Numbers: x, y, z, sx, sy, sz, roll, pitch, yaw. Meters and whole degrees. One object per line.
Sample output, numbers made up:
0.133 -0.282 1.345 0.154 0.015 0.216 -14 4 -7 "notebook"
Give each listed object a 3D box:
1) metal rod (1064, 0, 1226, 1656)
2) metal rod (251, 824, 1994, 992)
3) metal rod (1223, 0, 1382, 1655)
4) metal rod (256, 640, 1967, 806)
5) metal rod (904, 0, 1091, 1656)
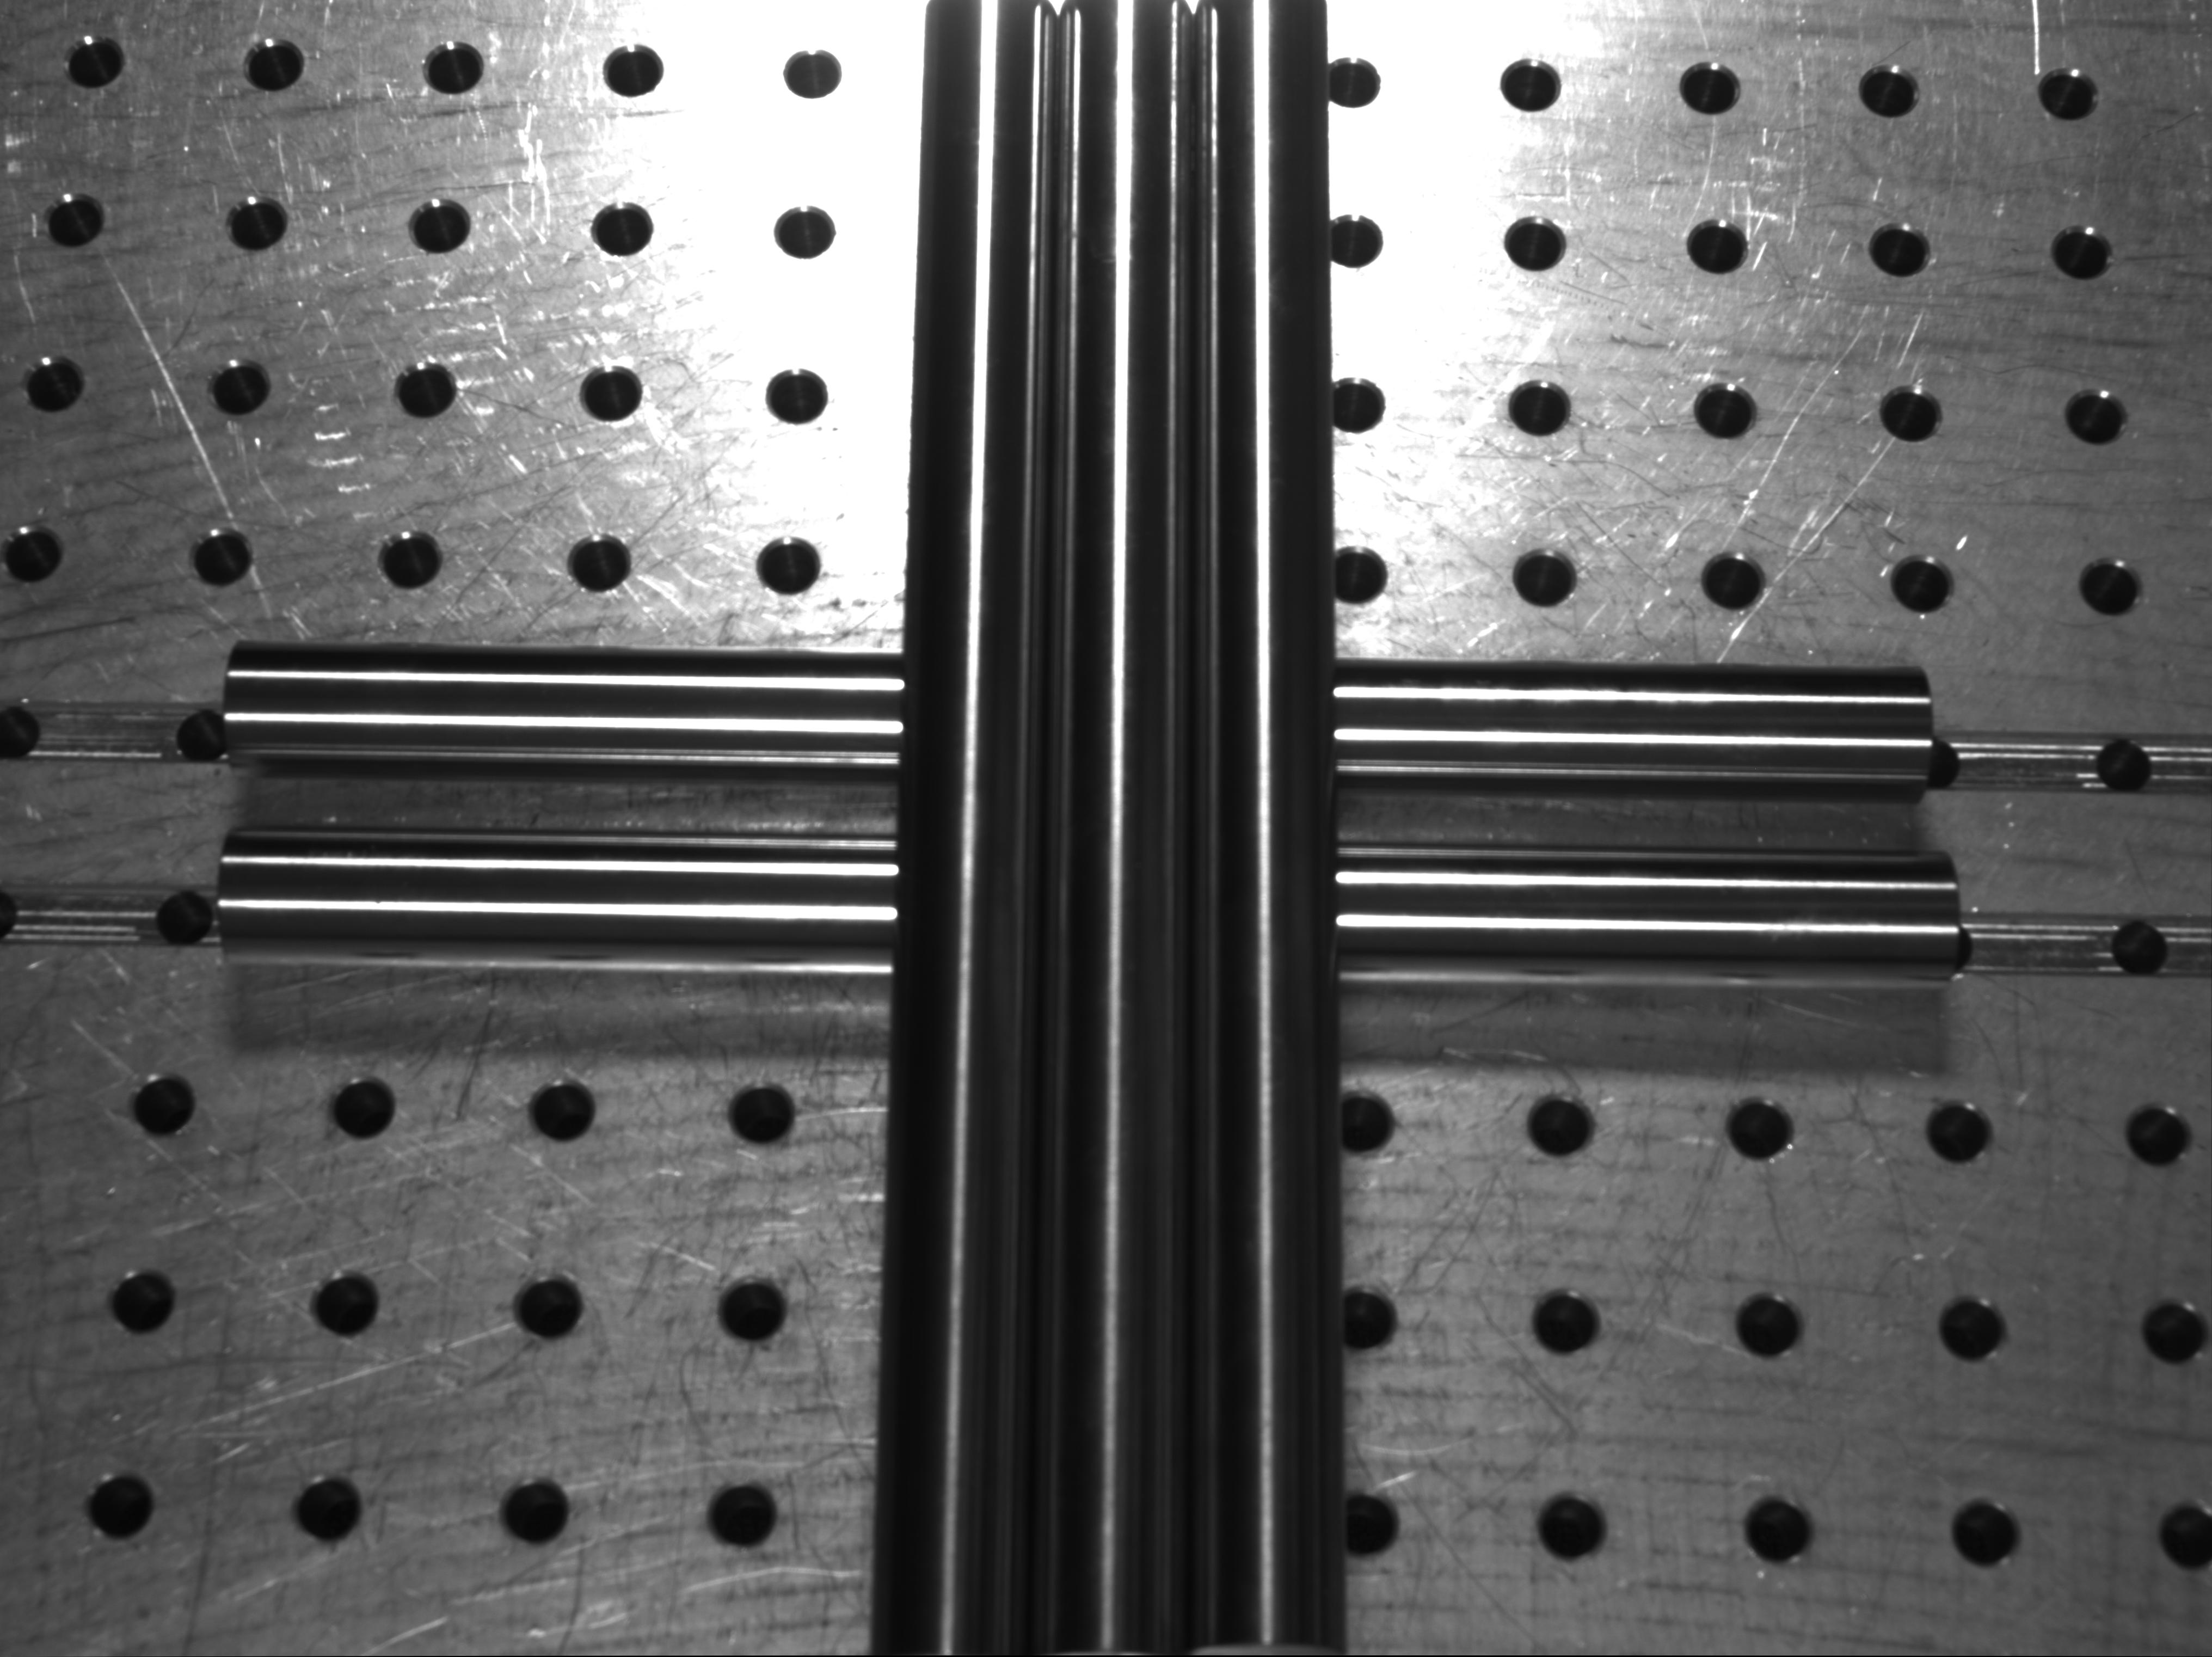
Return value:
0.008 -0.010 0.625 0.025 0.025 0.300 1 70 0 "metal rod"
0.003 0.014 0.642 0.300 0.025 0.025 1 70 0 "metal rod"
0.033 -0.011 0.625 0.025 0.025 0.300 1 70 0 "metal rod"
0.001 -0.019 0.654 0.300 0.025 0.025 1 70 0 "metal rod"
-0.017 -0.010 0.624 0.025 0.025 0.300 1 70 0 "metal rod"
